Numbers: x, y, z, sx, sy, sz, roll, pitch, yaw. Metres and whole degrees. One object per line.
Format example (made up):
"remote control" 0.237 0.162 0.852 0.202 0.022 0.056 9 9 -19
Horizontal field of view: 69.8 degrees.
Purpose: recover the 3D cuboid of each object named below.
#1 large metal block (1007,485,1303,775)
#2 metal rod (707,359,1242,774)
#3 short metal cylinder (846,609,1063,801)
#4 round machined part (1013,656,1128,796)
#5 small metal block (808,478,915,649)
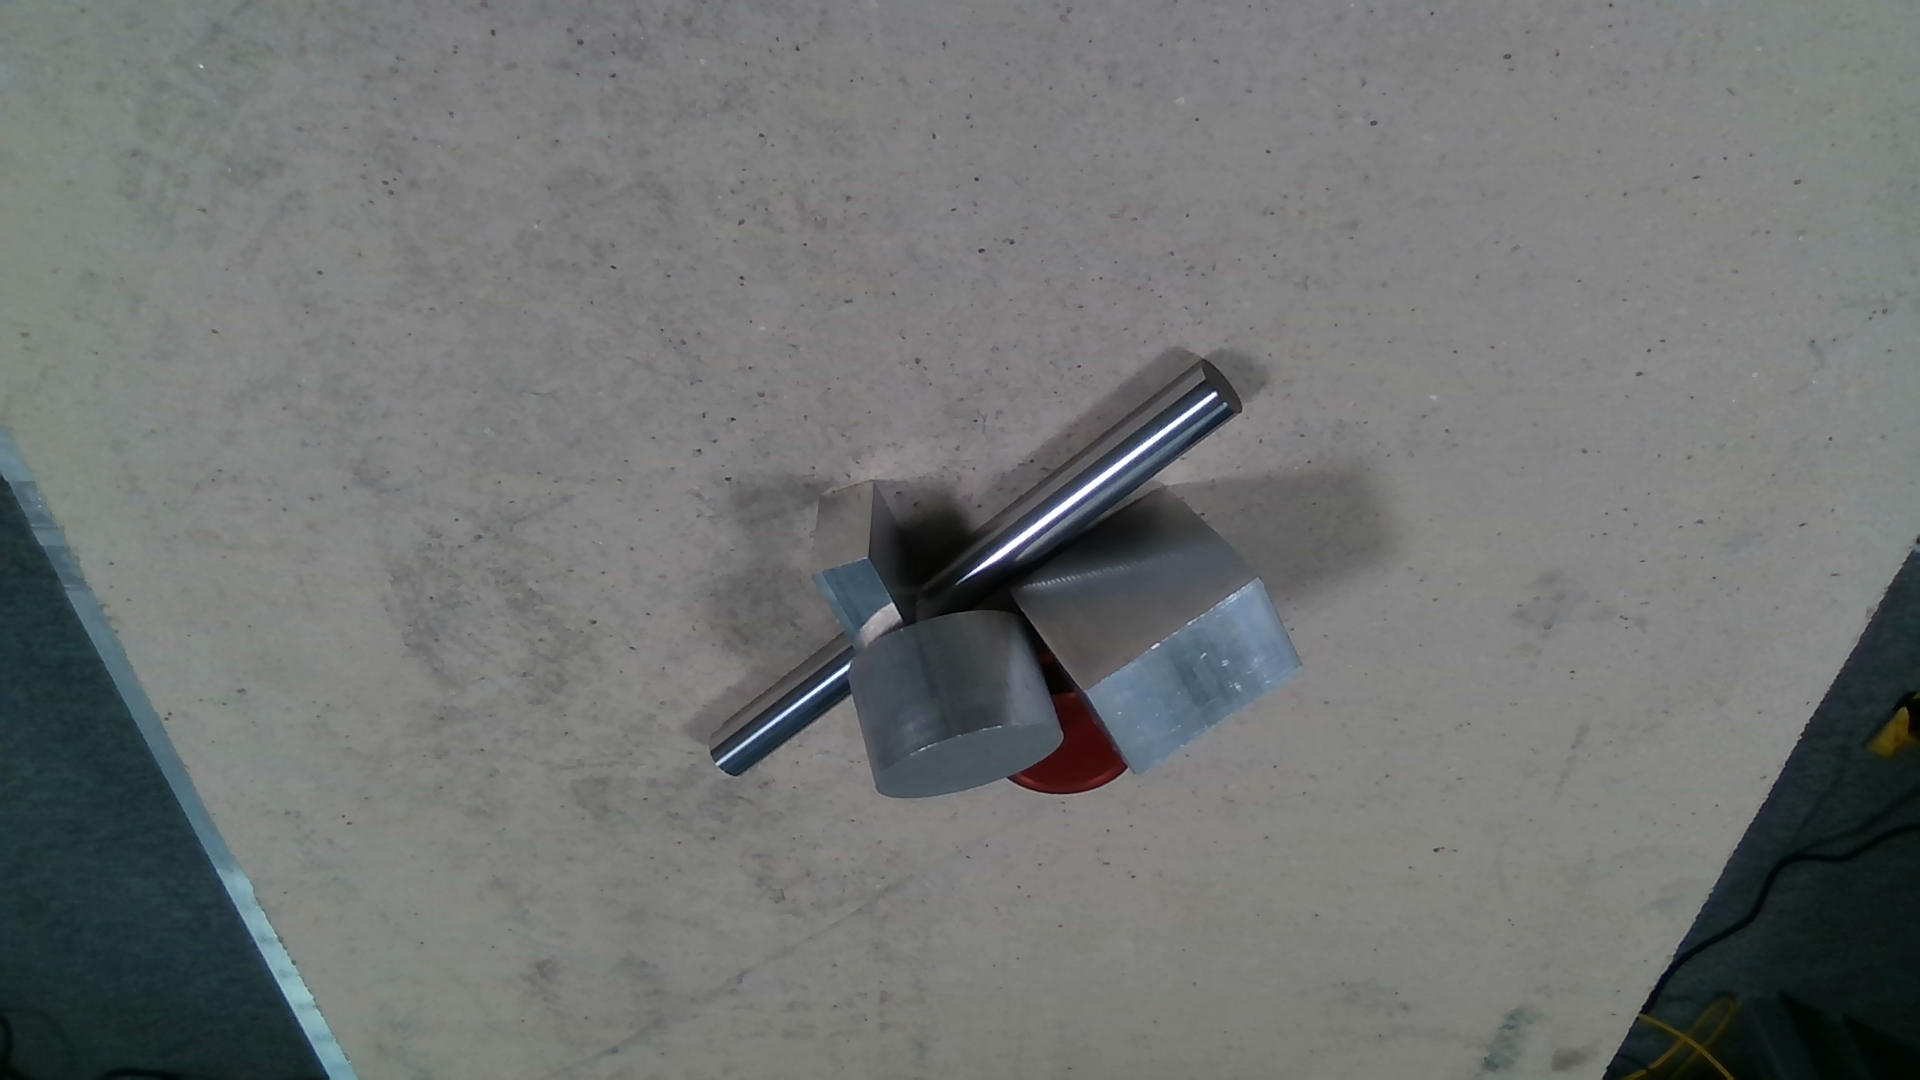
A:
"large metal block" 0.077 0.034 0.559 0.080 0.080 0.050 -34 124 -2
"metal rod" -0.006 0.021 0.598 0.300 0.025 0.025 -37 121 27
"short metal cylinder" -0.003 0.070 0.573 0.080 0.050 0.080 -14 154 -7
"round machined part" 0.046 0.080 0.635 0.098 0.042 0.098 0 130 0
"small metal block" -0.039 0.012 0.573 0.025 0.050 0.050 -17 128 13
